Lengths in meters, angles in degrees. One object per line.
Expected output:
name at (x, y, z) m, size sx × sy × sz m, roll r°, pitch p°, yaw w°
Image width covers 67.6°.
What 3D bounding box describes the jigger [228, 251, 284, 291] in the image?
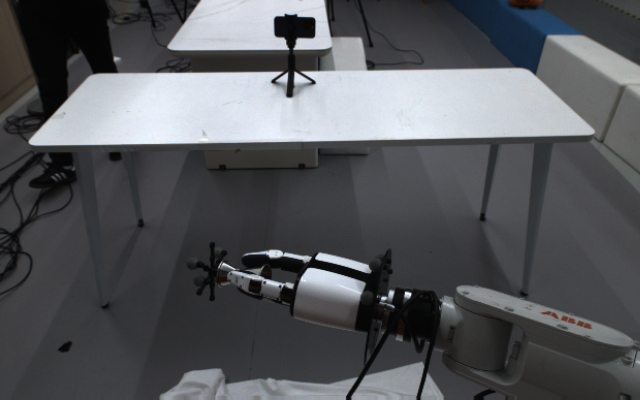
jigger at (-0.101, 0.105, 0.696) m, size 0.071 × 0.043 × 0.043 m, roll 4°, pitch 34°, yaw 16°
